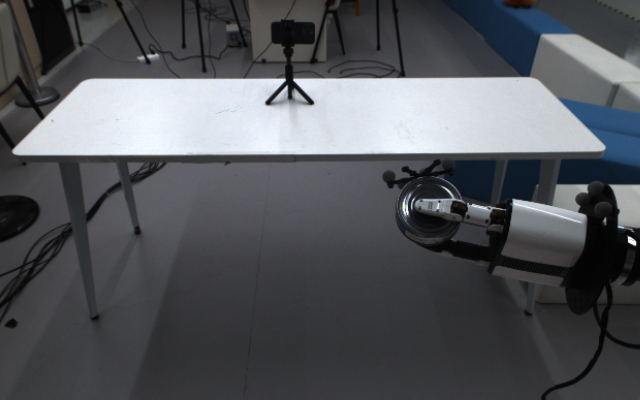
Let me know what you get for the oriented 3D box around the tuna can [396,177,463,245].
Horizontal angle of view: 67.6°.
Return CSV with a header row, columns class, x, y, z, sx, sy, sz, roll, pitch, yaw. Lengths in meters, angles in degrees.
class,x,y,z,sx,sy,sz,roll,pitch,yaw
tuna can,0.145,0.018,0.620,0.085,0.034,0.085,-4,68,9
